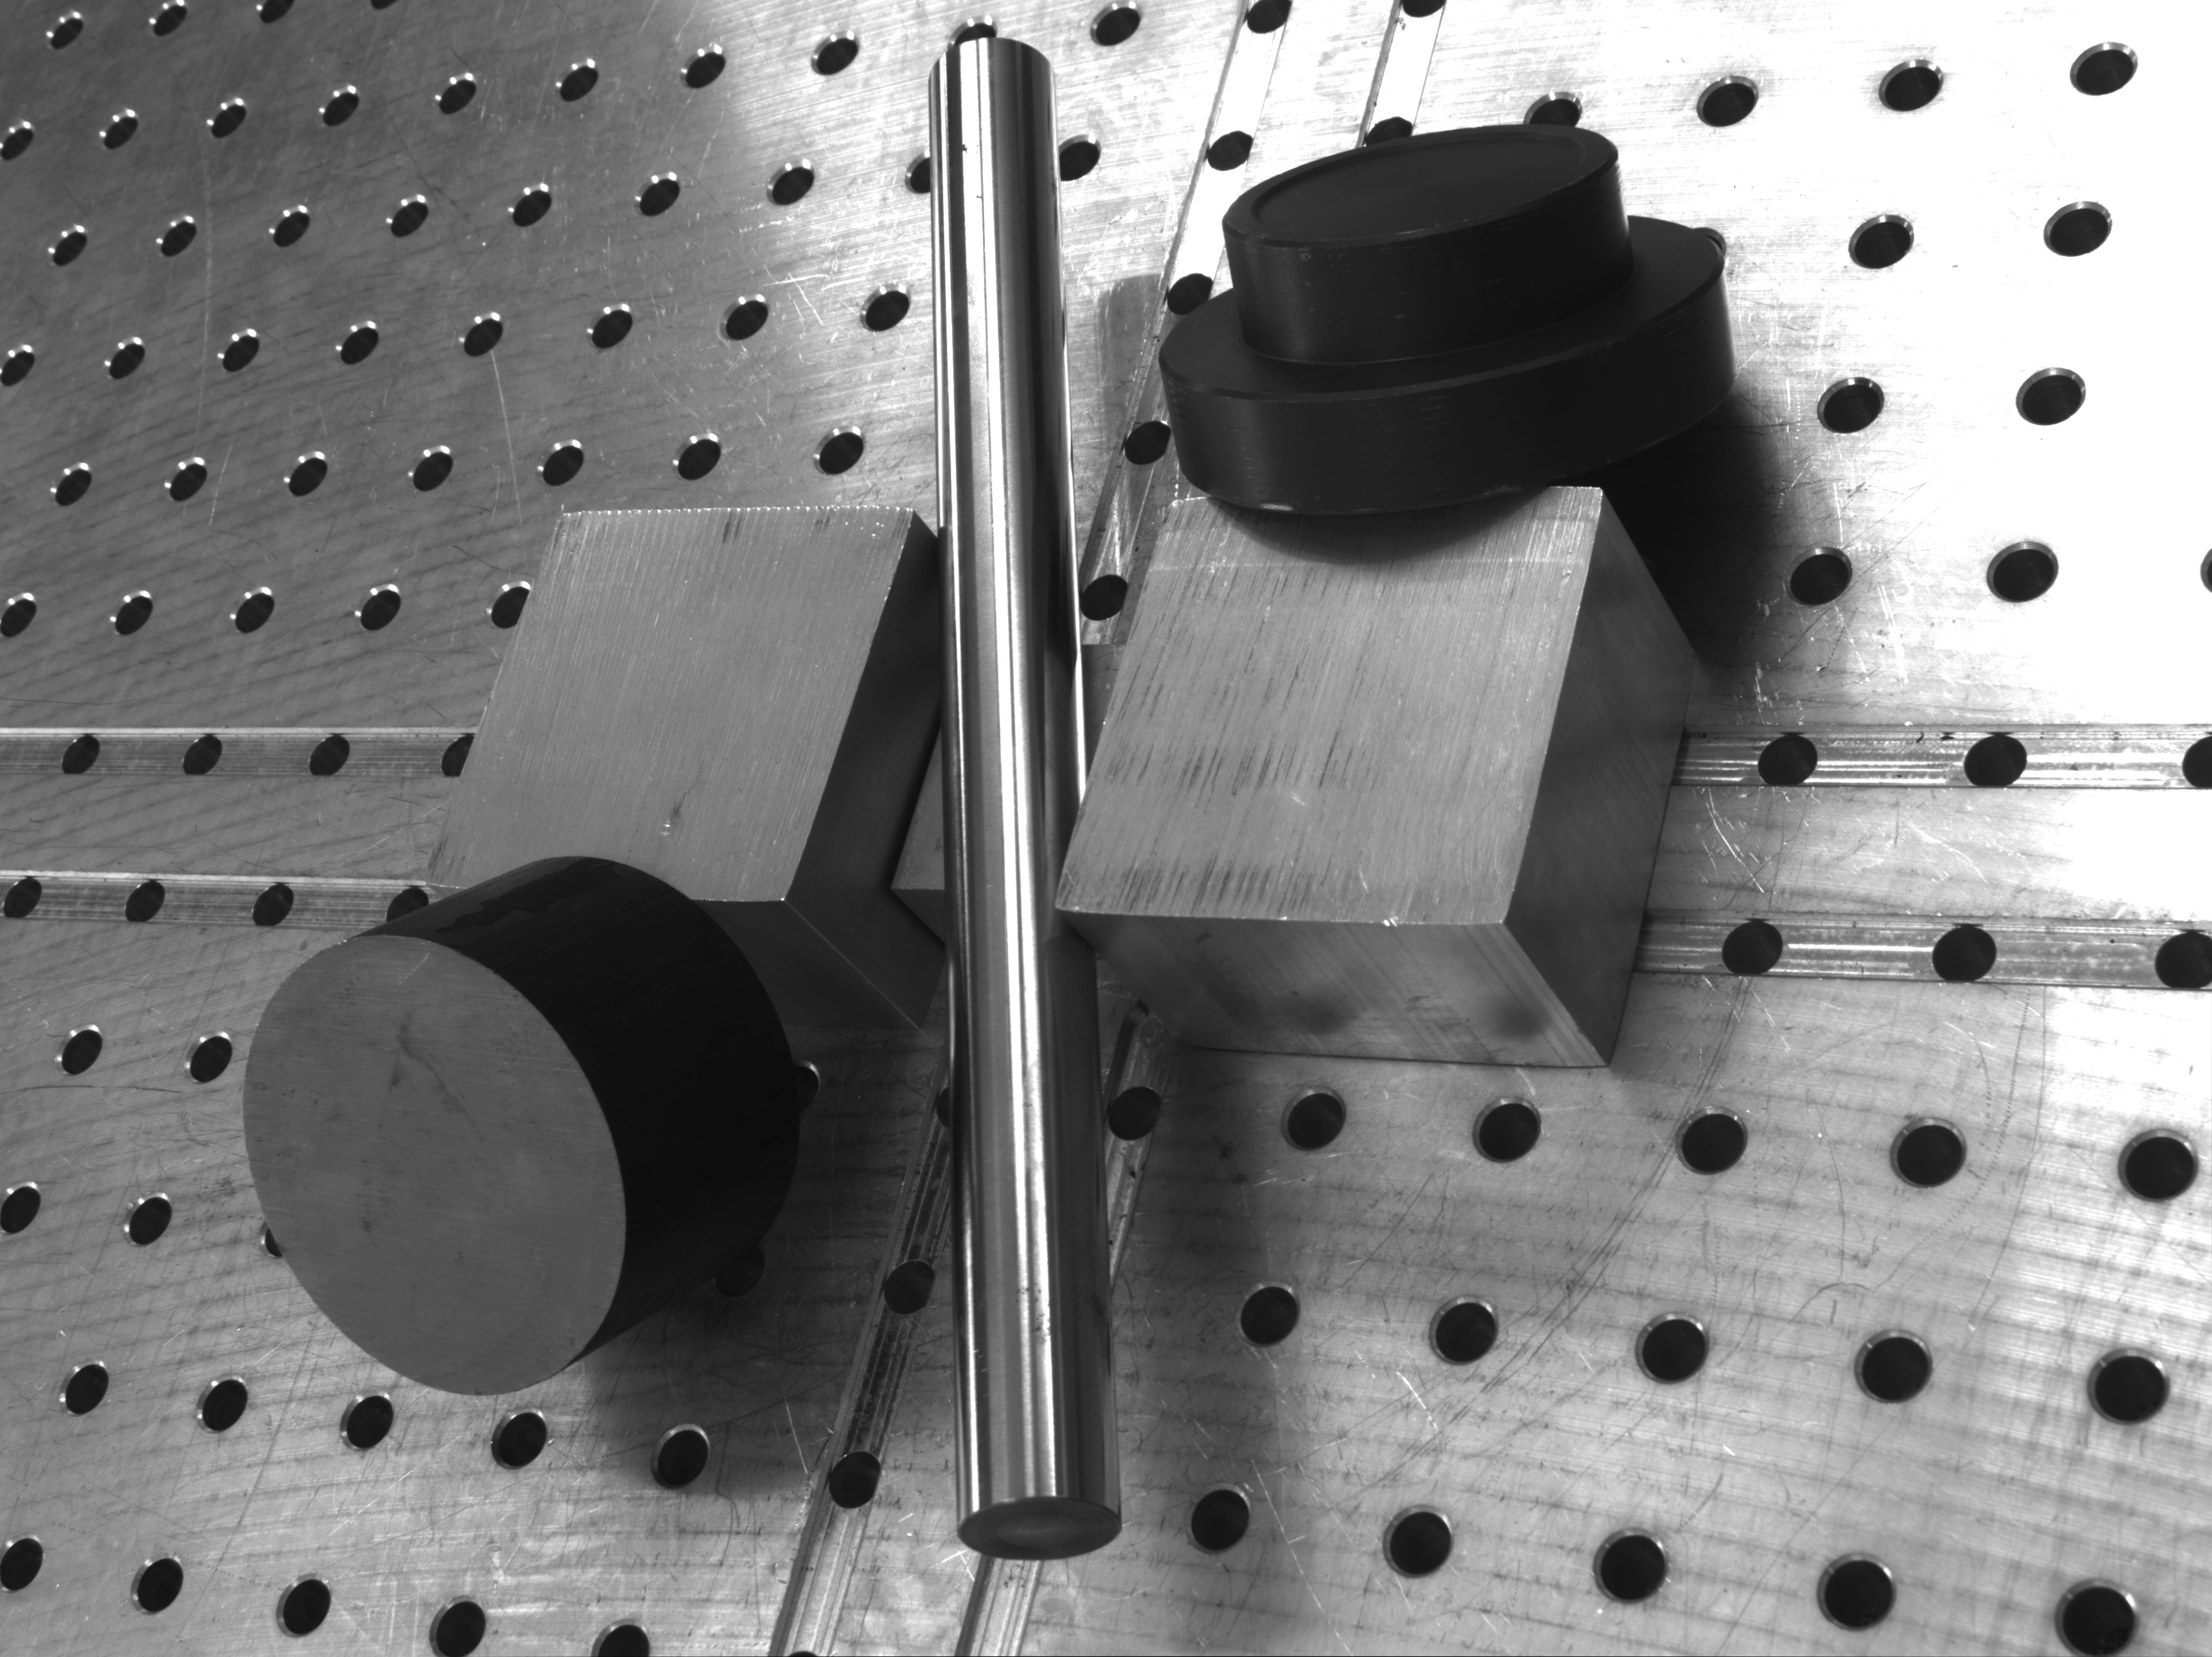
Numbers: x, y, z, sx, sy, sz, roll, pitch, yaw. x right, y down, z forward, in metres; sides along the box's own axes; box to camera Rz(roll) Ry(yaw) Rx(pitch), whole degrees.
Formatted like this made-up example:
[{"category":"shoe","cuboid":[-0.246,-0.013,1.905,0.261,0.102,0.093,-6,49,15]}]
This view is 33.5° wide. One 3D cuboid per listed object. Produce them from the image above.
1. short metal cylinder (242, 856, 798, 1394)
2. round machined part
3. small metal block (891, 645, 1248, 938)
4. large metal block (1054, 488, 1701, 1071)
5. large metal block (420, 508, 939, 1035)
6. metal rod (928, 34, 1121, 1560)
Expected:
[{"category":"short metal cylinder","cuboid":[-0.100,0.050,0.628,0.080,0.050,0.080,9,108,28]},{"category":"round machined part","cuboid":[0.057,-0.091,0.631,0.098,0.042,0.098,-11,23,5]},{"category":"small metal block","cuboid":[-0.005,-0.005,0.655,0.050,0.025,0.050,1,62,29]},{"category":"large metal block","cuboid":[0.047,-0.008,0.613,0.080,0.050,0.080,1,62,29]},{"category":"large metal block","cuboid":[-0.068,-0.011,0.677,0.080,0.050,0.080,2,63,29]},{"category":"metal rod","cuboid":[-0.016,-0.020,0.636,0.025,0.025,0.300,-16,55,19]}]
